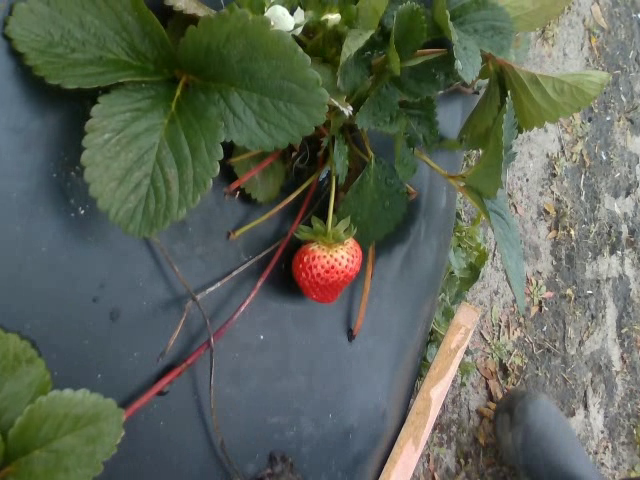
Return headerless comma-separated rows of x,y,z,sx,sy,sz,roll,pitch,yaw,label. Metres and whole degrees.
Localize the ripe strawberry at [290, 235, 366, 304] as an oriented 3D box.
0.008,0.023,0.427,0.049,0.065,0.062,19,41,17,ripe strawberry
